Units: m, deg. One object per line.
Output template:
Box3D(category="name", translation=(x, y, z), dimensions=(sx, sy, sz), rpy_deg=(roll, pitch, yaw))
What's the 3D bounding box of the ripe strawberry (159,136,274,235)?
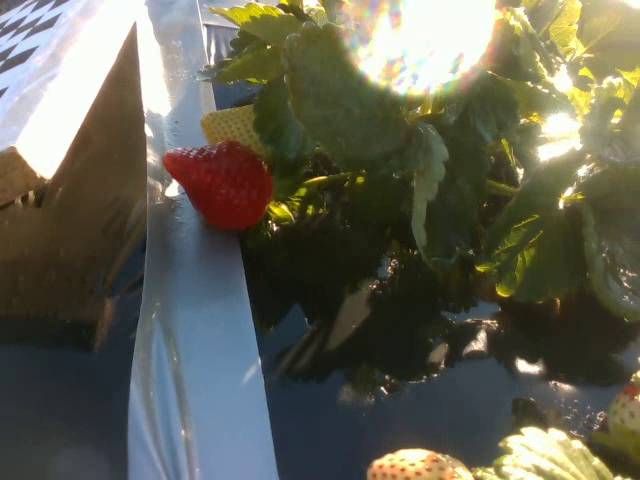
Box3D(category="ripe strawberry", translation=(-0.046, -0.028, 0.270), dimensions=(0.045, 0.049, 0.063), rpy_deg=(-4, -17, 36))
